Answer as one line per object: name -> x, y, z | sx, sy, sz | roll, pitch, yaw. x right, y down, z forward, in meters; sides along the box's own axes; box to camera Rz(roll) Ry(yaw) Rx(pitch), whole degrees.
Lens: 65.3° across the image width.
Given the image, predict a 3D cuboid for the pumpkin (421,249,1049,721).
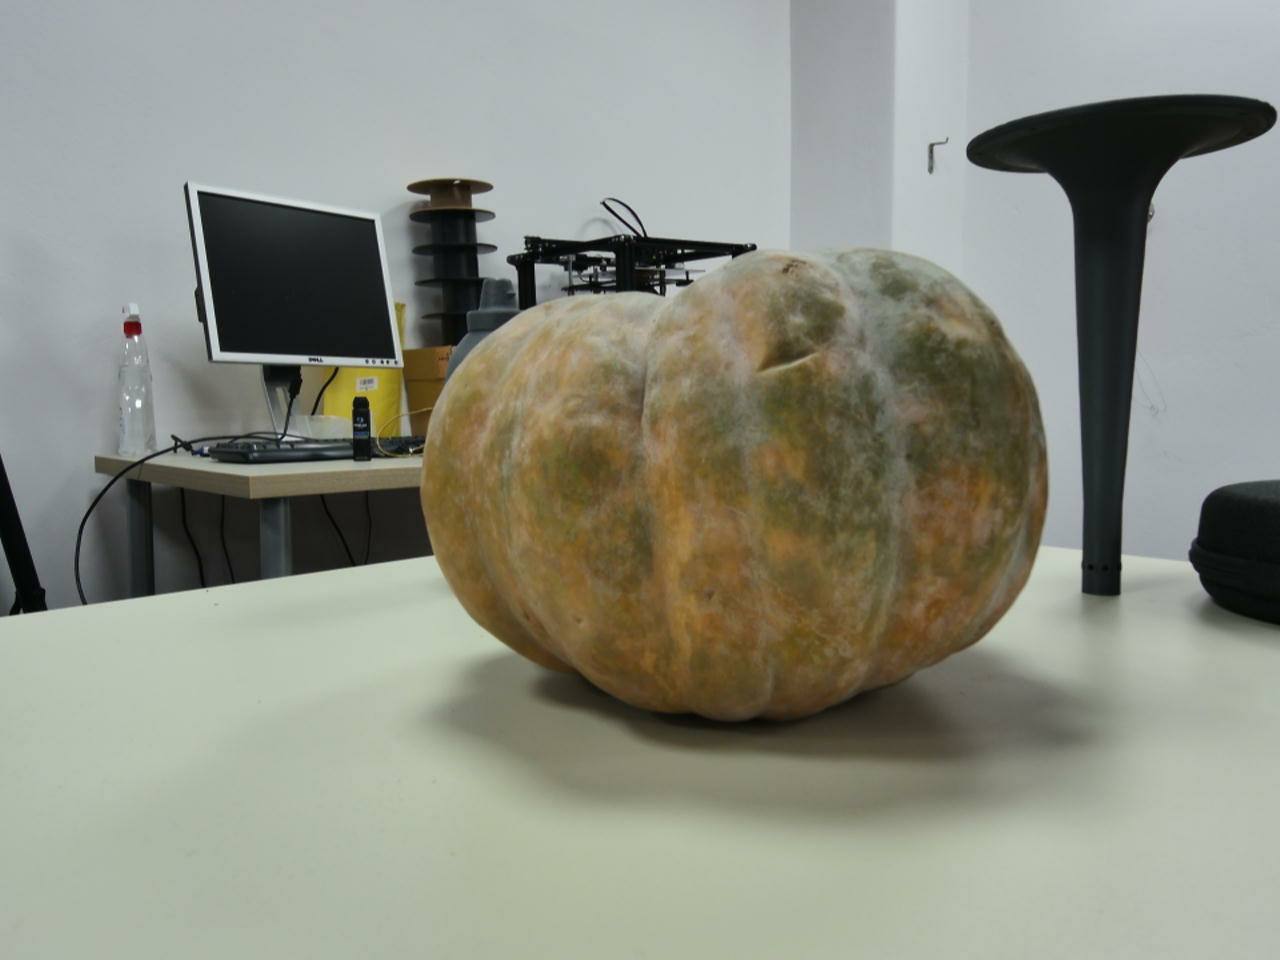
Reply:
pumpkin -> 0.039, 0.001, 0.414 | 0.252, 0.168, 0.252 | 0, 3, 0
